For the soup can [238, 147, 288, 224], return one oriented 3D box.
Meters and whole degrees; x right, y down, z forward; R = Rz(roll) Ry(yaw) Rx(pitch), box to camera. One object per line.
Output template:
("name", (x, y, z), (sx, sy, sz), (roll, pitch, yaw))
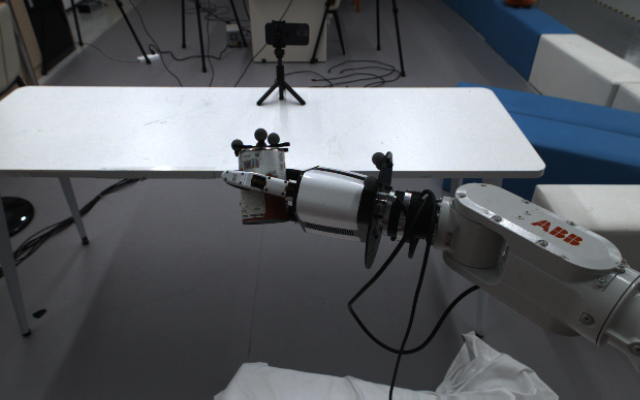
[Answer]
("soup can", (-0.079, -0.018, 0.682), (0.067, 0.101, 0.067), (-5, -5, 0))
